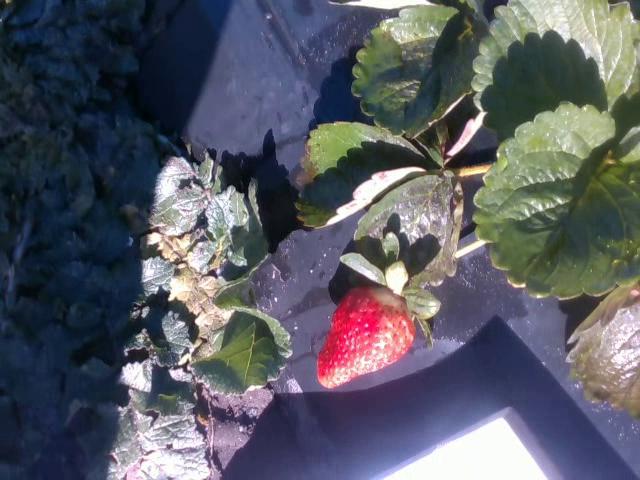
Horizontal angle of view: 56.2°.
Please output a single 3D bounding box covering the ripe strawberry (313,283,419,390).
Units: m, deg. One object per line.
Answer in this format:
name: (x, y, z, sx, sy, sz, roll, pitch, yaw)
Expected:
ripe strawberry: (0.020, 0.052, 0.298, 0.048, 0.069, 0.040, 40, 14, 22)
